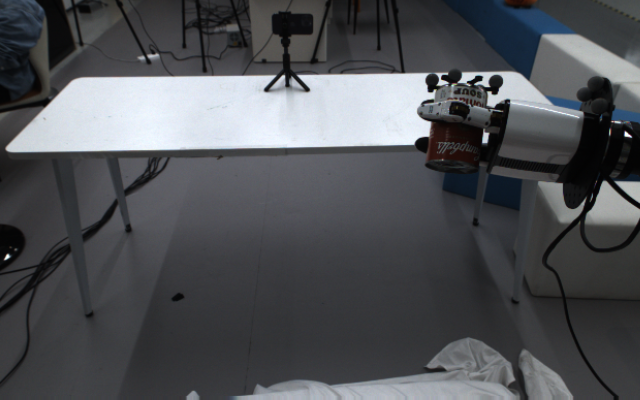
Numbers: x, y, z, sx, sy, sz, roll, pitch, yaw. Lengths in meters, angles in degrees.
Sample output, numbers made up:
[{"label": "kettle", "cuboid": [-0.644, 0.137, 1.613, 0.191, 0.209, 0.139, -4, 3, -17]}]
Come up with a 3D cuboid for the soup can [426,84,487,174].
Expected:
[{"label": "soup can", "cuboid": [0.177, -0.091, 0.621, 0.067, 0.101, 0.067, 9, -6, 1]}]
